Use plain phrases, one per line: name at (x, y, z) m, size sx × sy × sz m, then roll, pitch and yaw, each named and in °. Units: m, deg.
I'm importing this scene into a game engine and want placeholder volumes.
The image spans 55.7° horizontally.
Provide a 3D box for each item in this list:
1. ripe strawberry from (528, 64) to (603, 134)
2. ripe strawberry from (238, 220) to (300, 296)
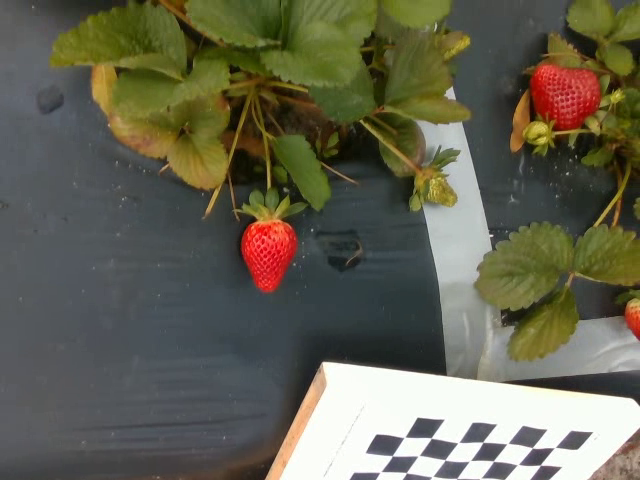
ripe strawberry at (0.162, -0.100, 0.397) m, size 0.062 × 0.043 × 0.043 m, roll 33°, pitch 30°, yaw -21°
ripe strawberry at (-0.027, 0.007, 0.330) m, size 0.036 × 0.046 × 0.040 m, roll 5°, pitch -10°, yaw -2°
